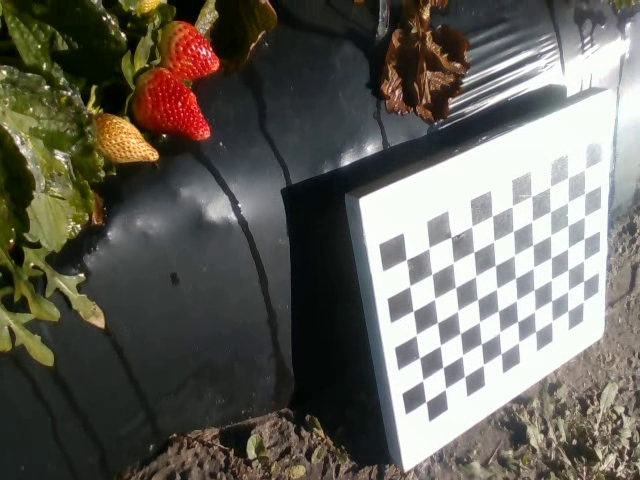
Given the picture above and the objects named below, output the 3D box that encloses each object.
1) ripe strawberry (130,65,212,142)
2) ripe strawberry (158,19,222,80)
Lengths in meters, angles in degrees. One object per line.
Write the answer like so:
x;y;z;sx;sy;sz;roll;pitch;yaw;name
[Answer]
-0.080;-0.072;0.370;0.051;0.036;0.039;32;-5;-1;ripe strawberry
-0.076;-0.110;0.382;0.041;0.036;0.030;7;12;-31;ripe strawberry
